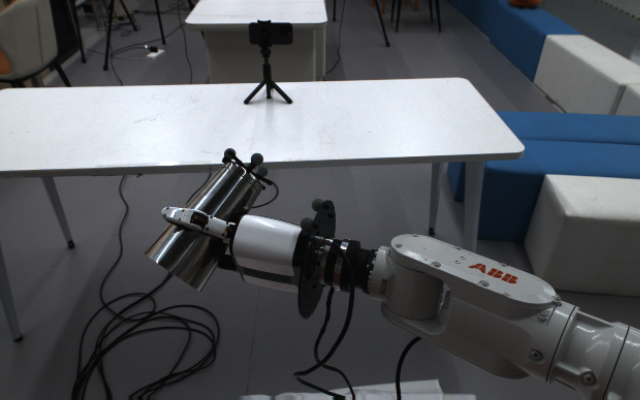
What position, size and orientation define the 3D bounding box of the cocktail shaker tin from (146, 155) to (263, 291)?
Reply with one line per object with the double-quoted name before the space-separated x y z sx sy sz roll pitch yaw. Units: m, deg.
"cocktail shaker tin" -0.156 0.028 0.679 0.093 0.093 0.170 24 69 28
